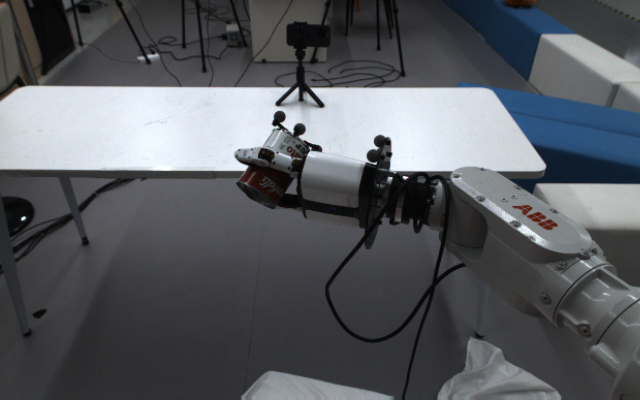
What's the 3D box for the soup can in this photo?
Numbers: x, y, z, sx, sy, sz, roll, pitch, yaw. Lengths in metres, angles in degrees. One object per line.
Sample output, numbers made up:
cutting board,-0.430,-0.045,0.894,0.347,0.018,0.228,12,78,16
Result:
soup can,-0.067,-0.047,0.713,0.067,0.067,0.101,24,73,28
